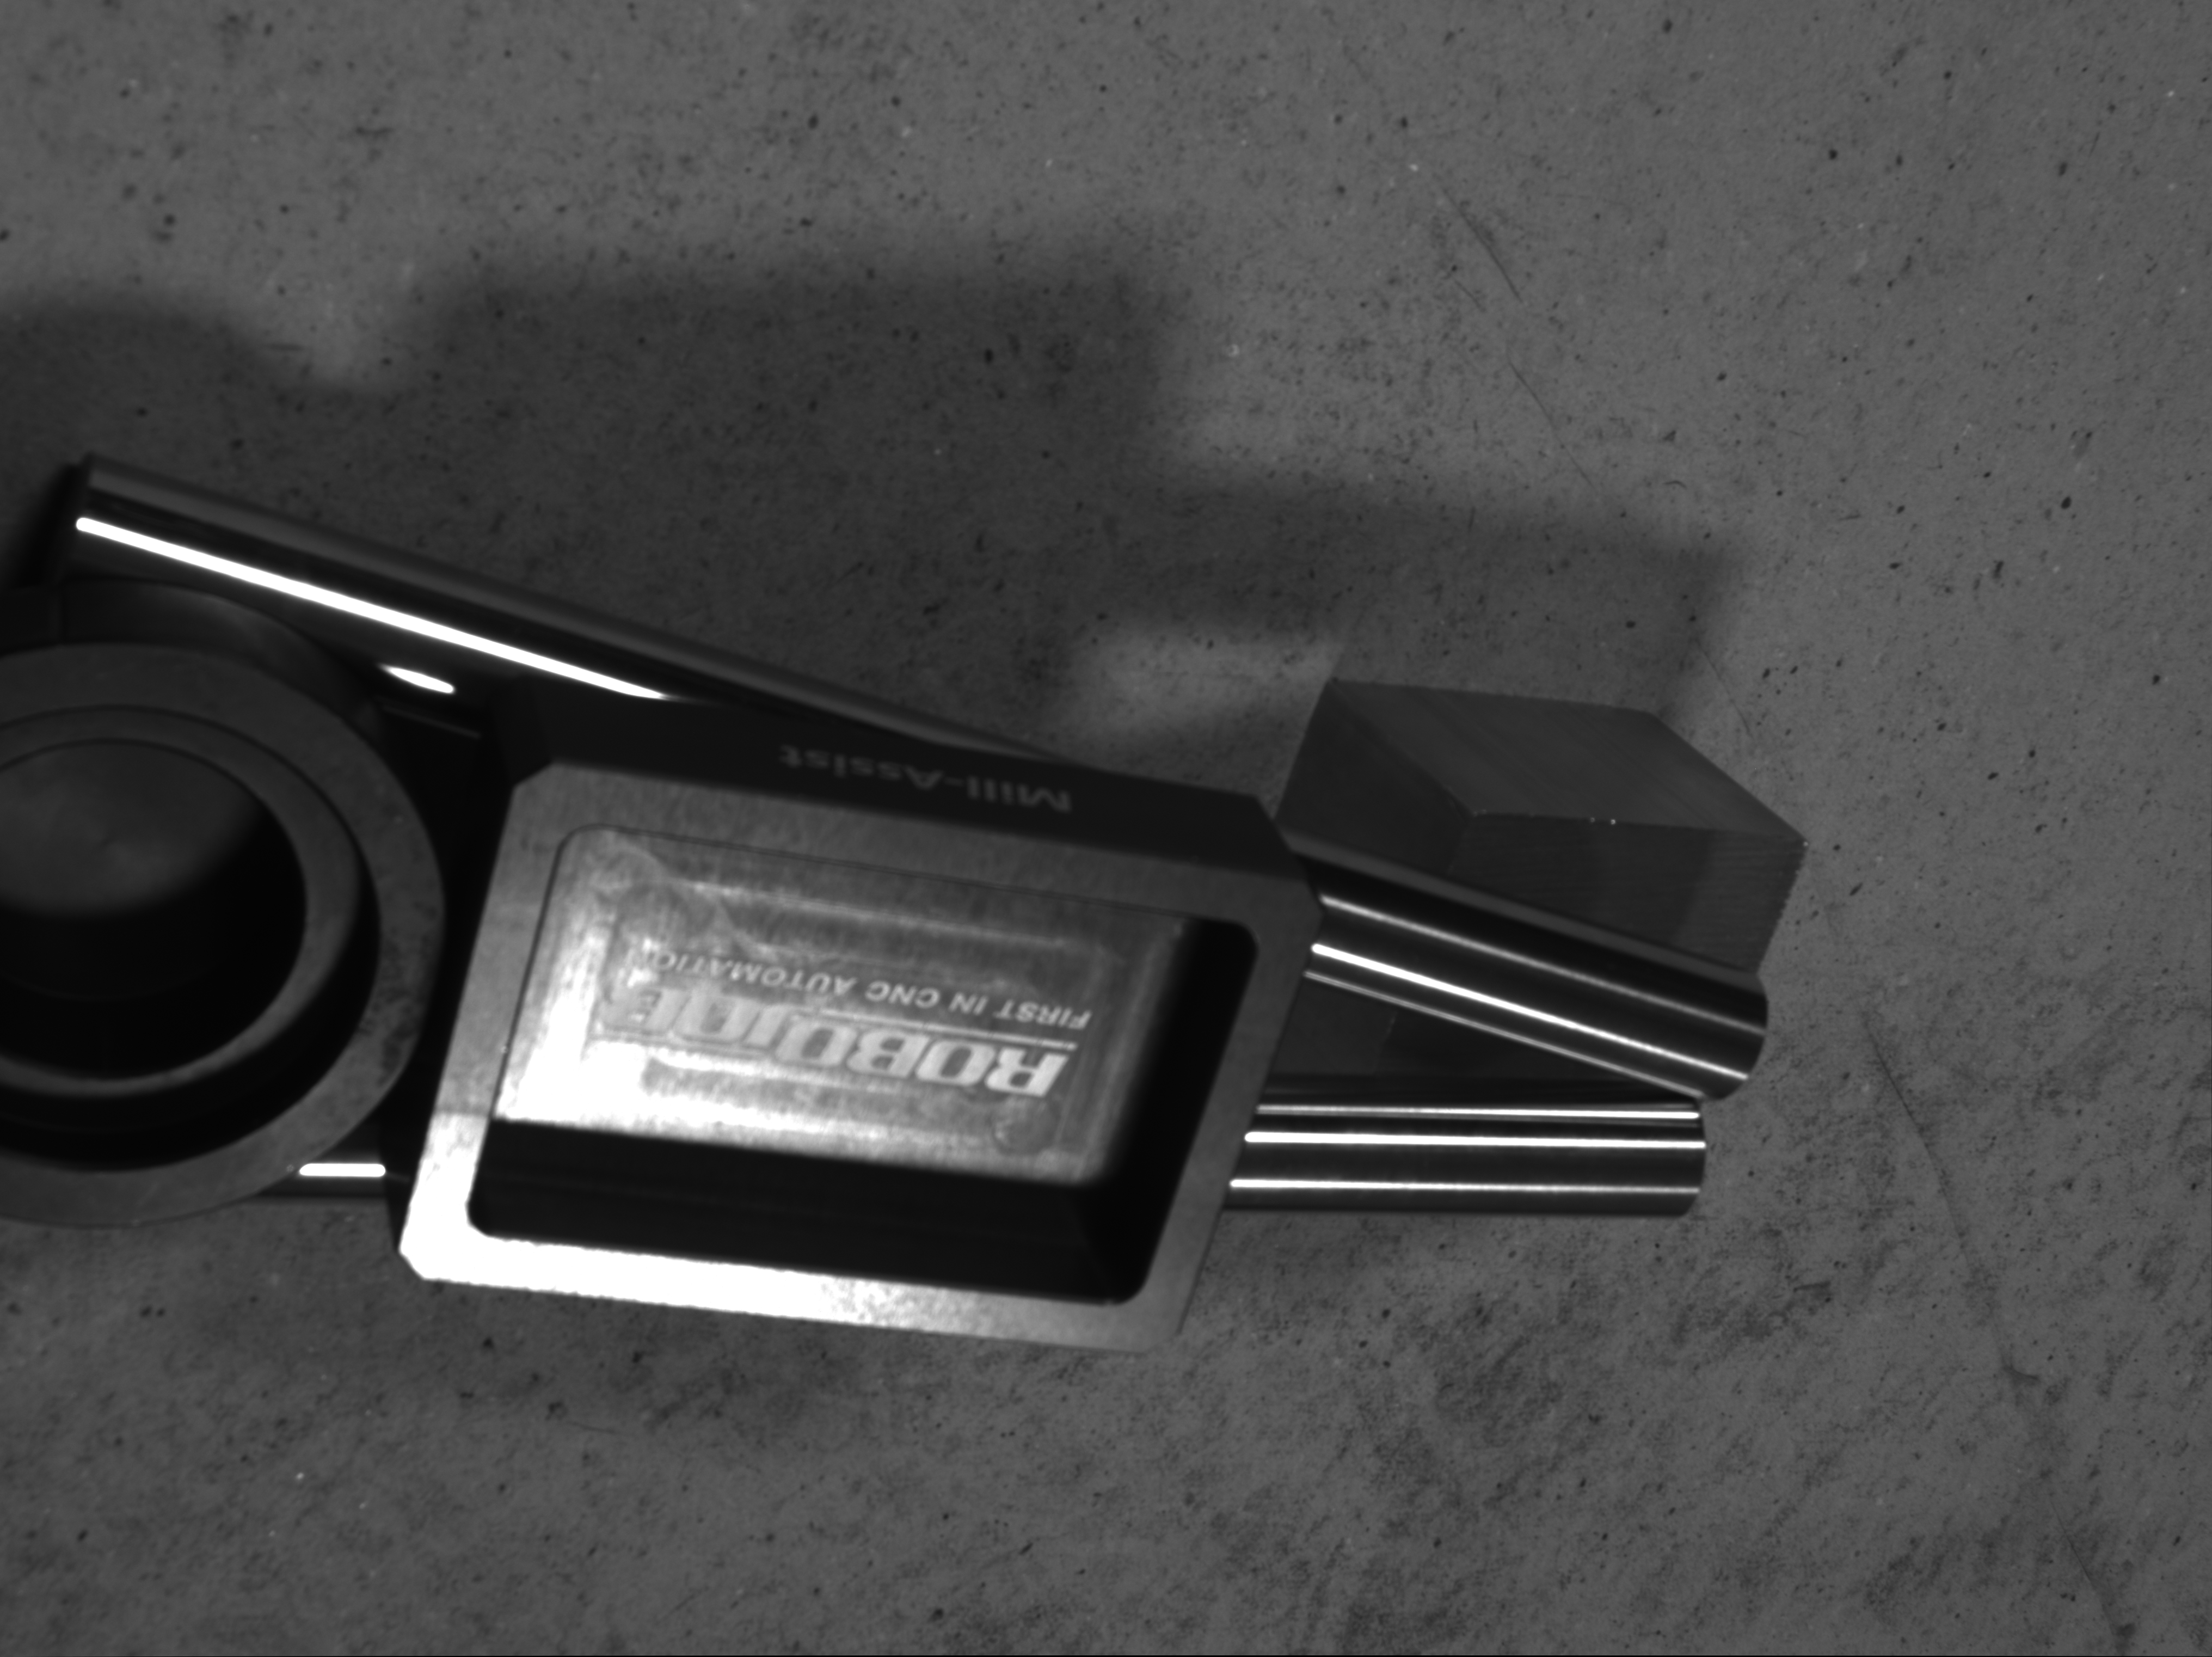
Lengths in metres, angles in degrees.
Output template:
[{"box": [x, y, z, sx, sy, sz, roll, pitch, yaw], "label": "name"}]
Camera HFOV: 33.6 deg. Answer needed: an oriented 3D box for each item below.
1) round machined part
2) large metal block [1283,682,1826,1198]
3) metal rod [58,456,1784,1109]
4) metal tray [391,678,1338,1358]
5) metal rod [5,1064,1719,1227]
[{"box": [-0.149, 0.007, 0.550, 0.098, 0.042, 0.098, -8, 119, -14], "label": "round machined part"}, {"box": [0.077, 0.022, 0.691, 0.080, 0.050, 0.080, 4, 116, -32], "label": "large metal block"}, {"box": [-0.019, -0.002, 0.596, 0.301, 0.025, 0.025, 17, 109, -23], "label": "metal rod"}, {"box": [-0.039, 0.032, 0.577, 0.130, 0.030, 0.090, 9, 114, -20], "label": "metal tray"}, {"box": [-0.038, 0.053, 0.620, 0.300, 0.025, 0.025, 2, 118, -17], "label": "metal rod"}]
